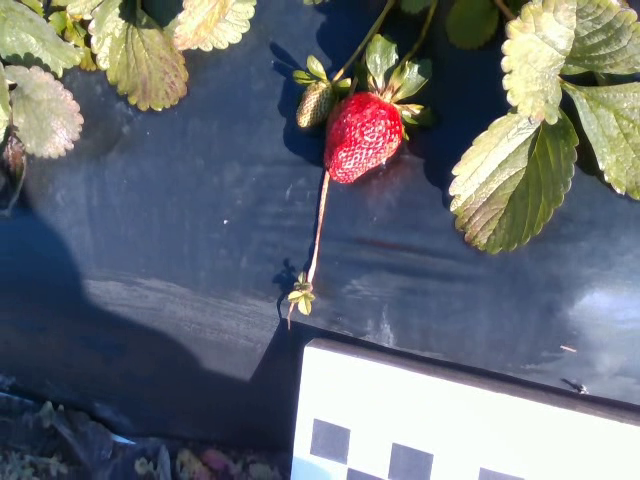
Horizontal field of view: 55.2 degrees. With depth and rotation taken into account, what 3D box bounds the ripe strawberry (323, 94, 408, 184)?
[{"bbox_3d":[0.018,-0.048,0.292,0.042,0.053,0.043,21,-27,13],"label":"ripe strawberry"}]
